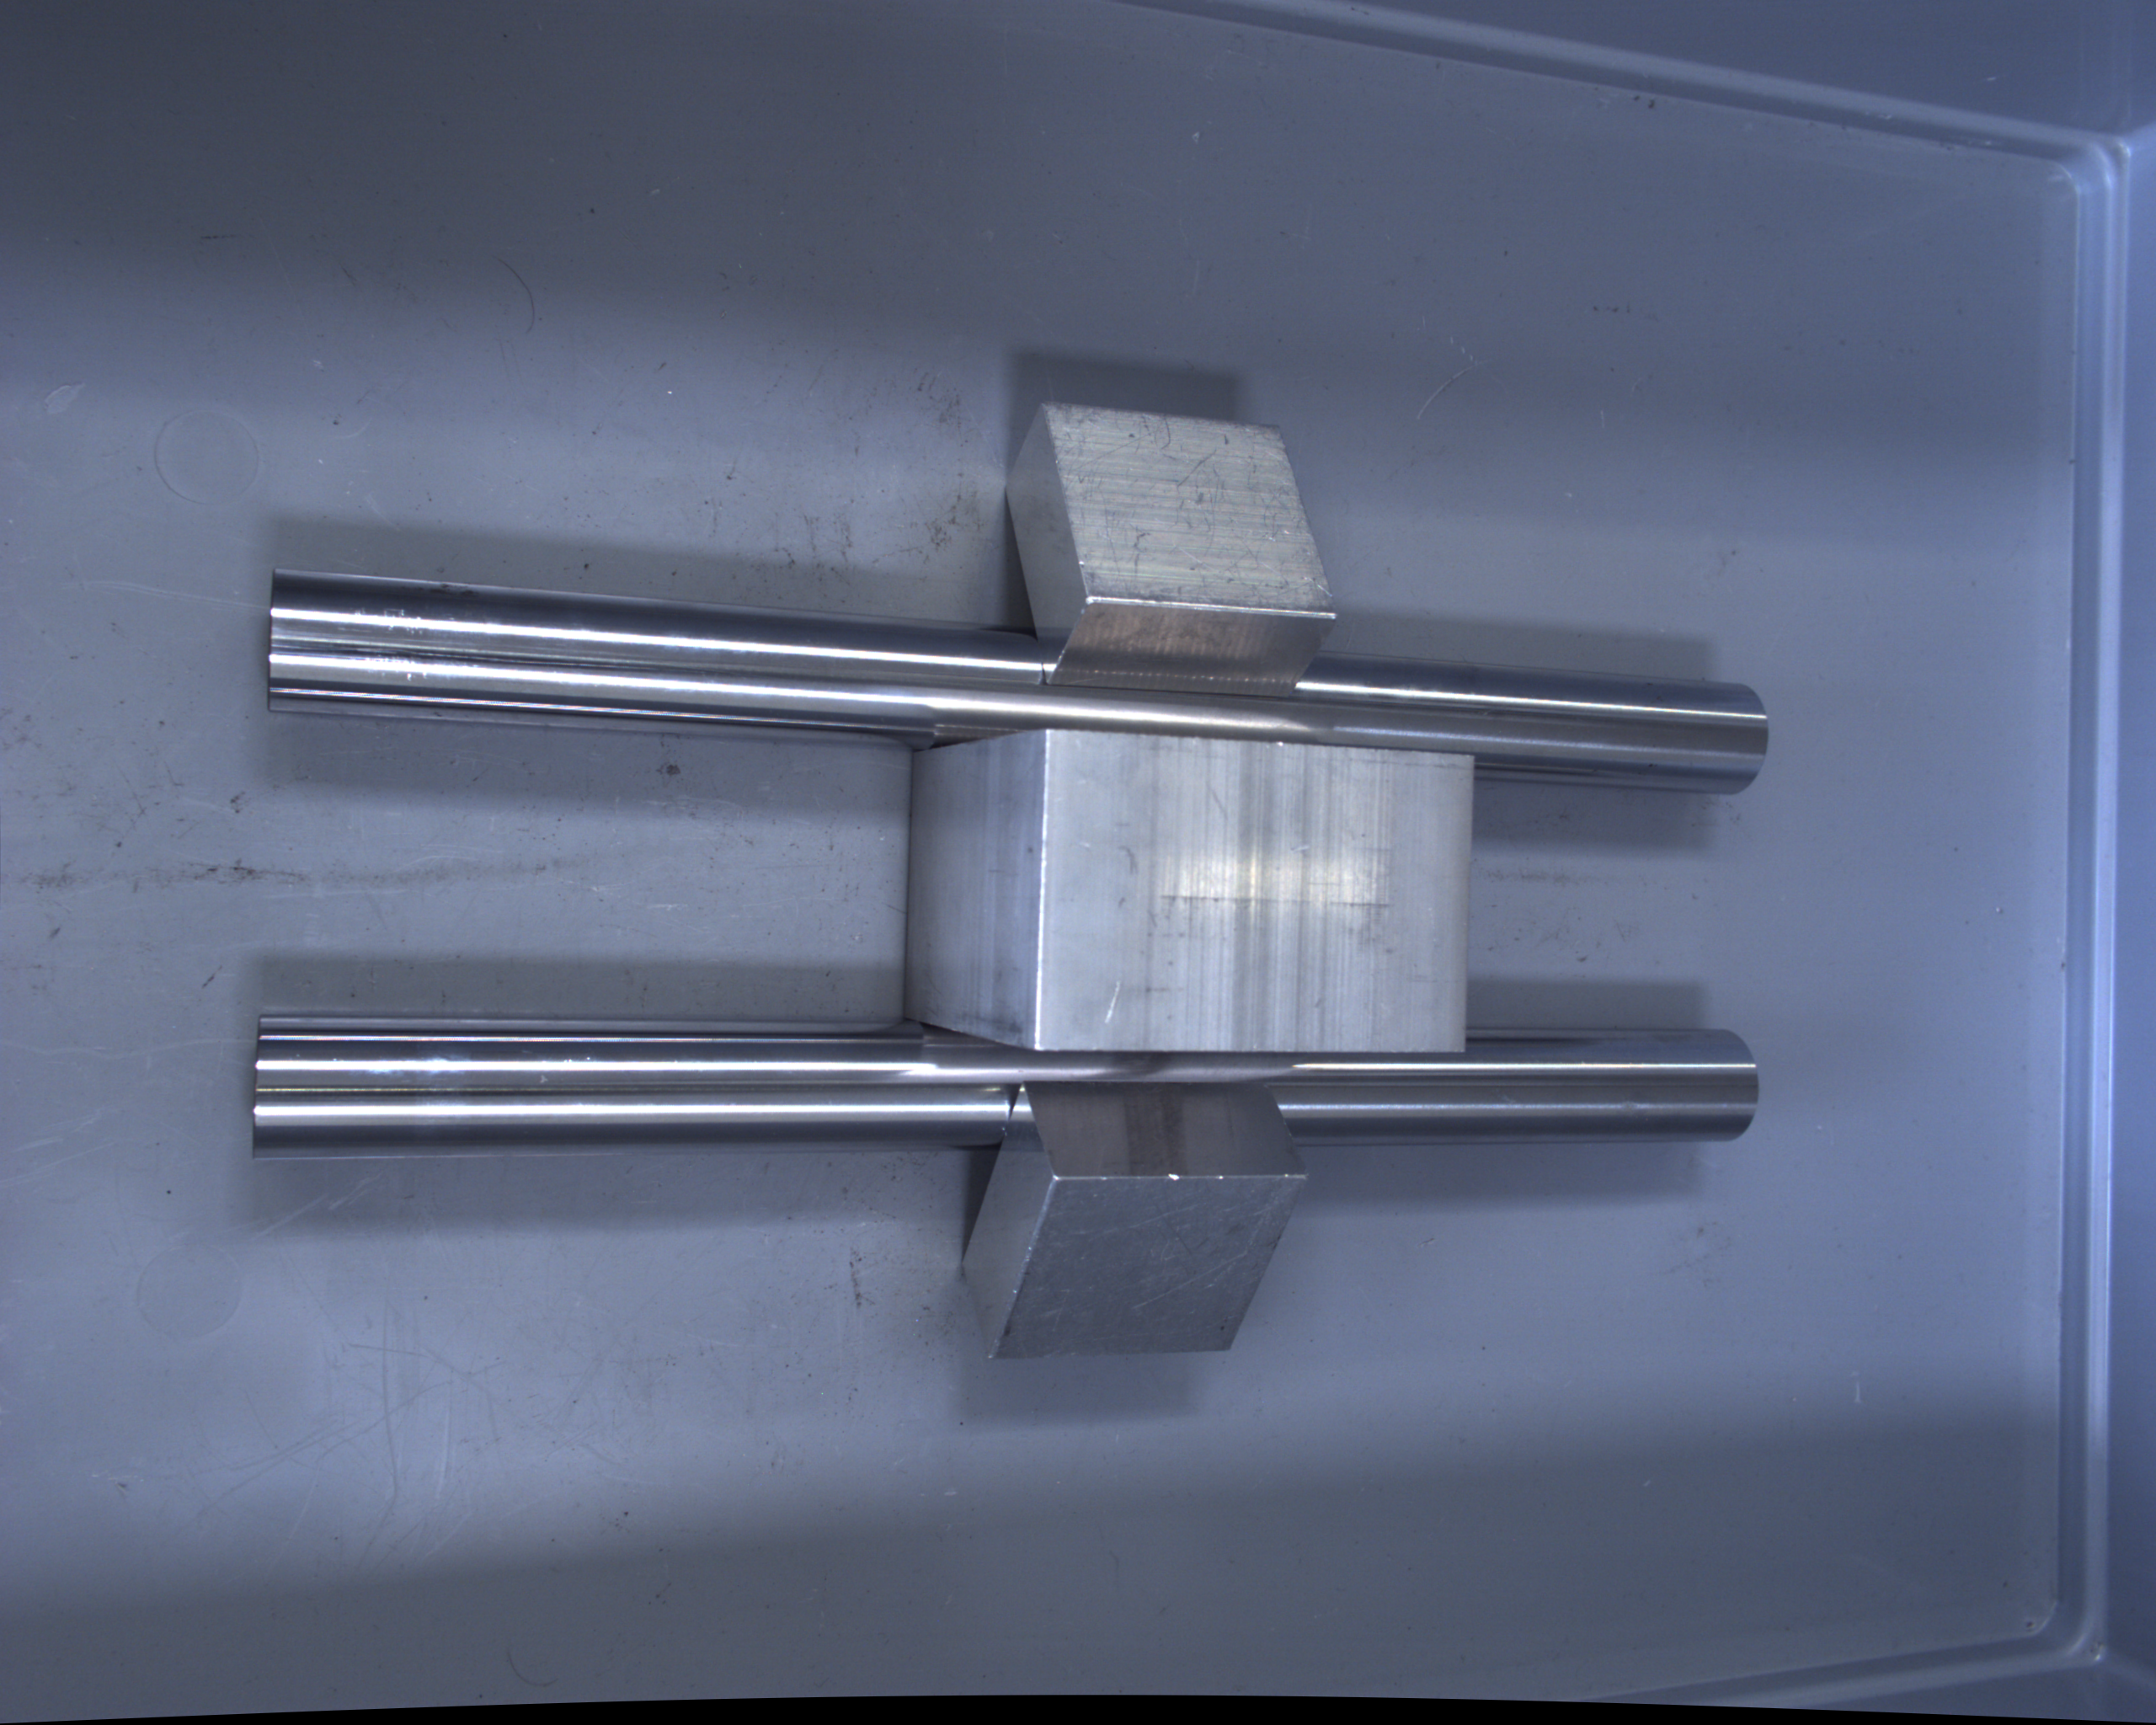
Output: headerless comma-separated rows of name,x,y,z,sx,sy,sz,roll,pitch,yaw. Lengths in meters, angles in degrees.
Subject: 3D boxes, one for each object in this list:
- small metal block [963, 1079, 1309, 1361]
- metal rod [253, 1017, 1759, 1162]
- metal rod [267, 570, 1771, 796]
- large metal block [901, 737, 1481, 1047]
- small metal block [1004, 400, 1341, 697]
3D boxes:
small metal block,0.010,0.068,0.400,0.050,0.025,0.050,3,127,-21
metal rod,0.001,0.044,0.410,0.302,0.025,0.025,2,90,-20
metal rod,0.004,-0.032,0.409,0.302,0.025,0.025,2,90,-20
large metal block,0.018,0.006,0.385,0.081,0.080,0.050,2,90,-20
small metal block,0.017,-0.060,0.403,0.050,0.025,0.050,1,55,-20
